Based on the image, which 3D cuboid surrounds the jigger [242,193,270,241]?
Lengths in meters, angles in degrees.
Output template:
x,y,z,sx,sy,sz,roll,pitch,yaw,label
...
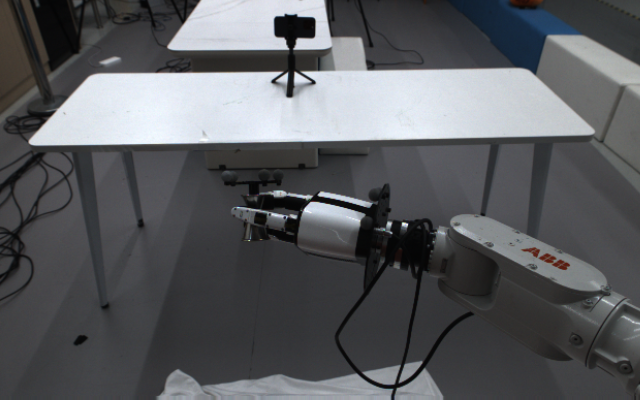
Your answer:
x,y,z,sx,sy,sz,roll,pitch,yaw,label
-0.097,0.025,0.718,0.043,0.071,0.043,-2,3,0,jigger
